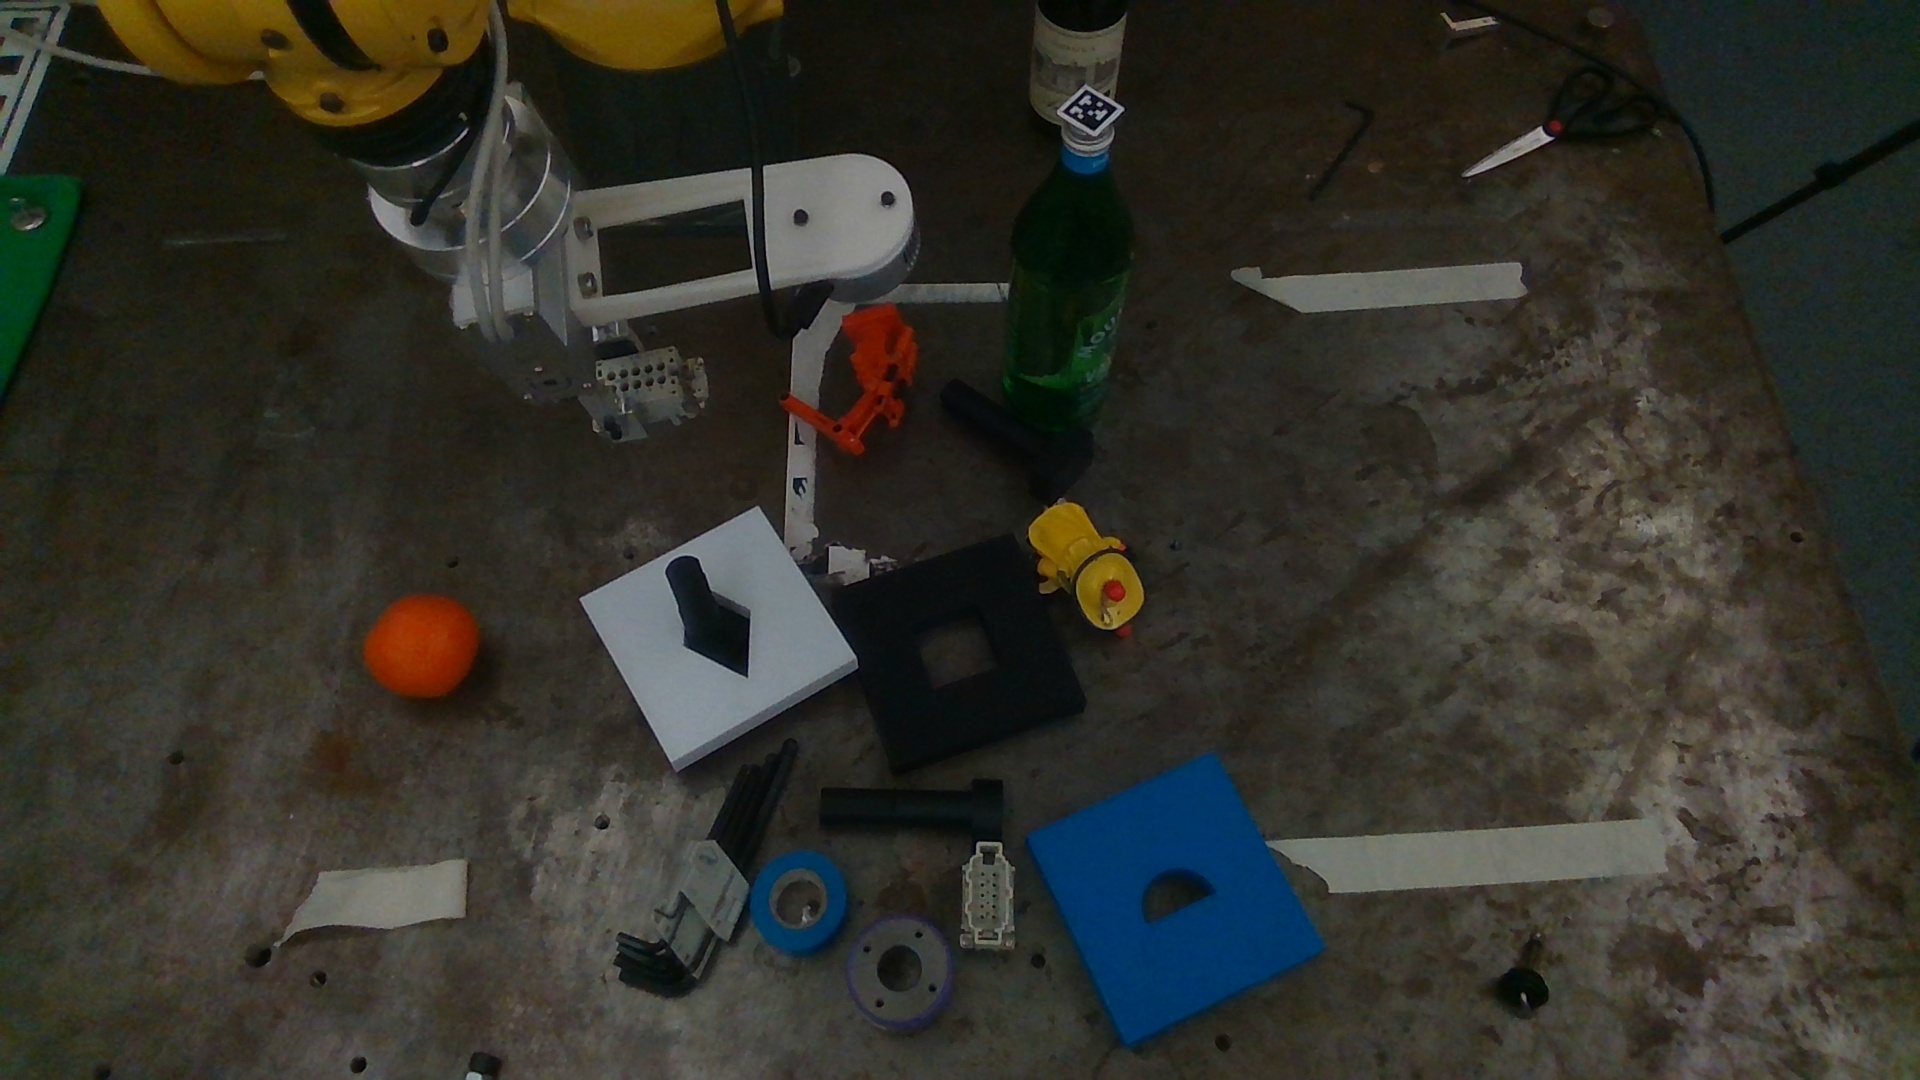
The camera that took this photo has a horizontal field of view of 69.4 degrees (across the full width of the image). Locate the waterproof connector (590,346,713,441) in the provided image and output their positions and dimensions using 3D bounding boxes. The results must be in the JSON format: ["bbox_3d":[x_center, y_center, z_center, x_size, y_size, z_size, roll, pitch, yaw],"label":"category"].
[{"bbox_3d":[-0.176,-0.082,0.787,0.069,0.038,0.037,-15,70,9],"label":"waterproof connector"}]
